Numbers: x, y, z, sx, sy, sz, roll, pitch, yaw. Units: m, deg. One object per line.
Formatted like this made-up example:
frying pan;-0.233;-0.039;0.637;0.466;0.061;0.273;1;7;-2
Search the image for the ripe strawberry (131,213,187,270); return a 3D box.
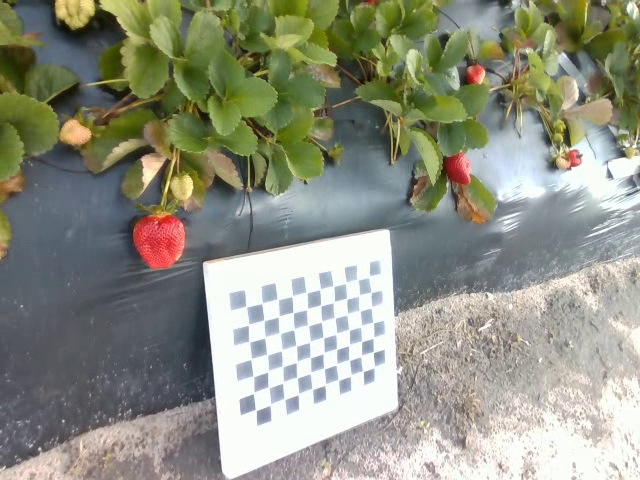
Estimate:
ripe strawberry;-0.197;0.002;0.724;0.067;0.075;0.039;-5;6;-32
